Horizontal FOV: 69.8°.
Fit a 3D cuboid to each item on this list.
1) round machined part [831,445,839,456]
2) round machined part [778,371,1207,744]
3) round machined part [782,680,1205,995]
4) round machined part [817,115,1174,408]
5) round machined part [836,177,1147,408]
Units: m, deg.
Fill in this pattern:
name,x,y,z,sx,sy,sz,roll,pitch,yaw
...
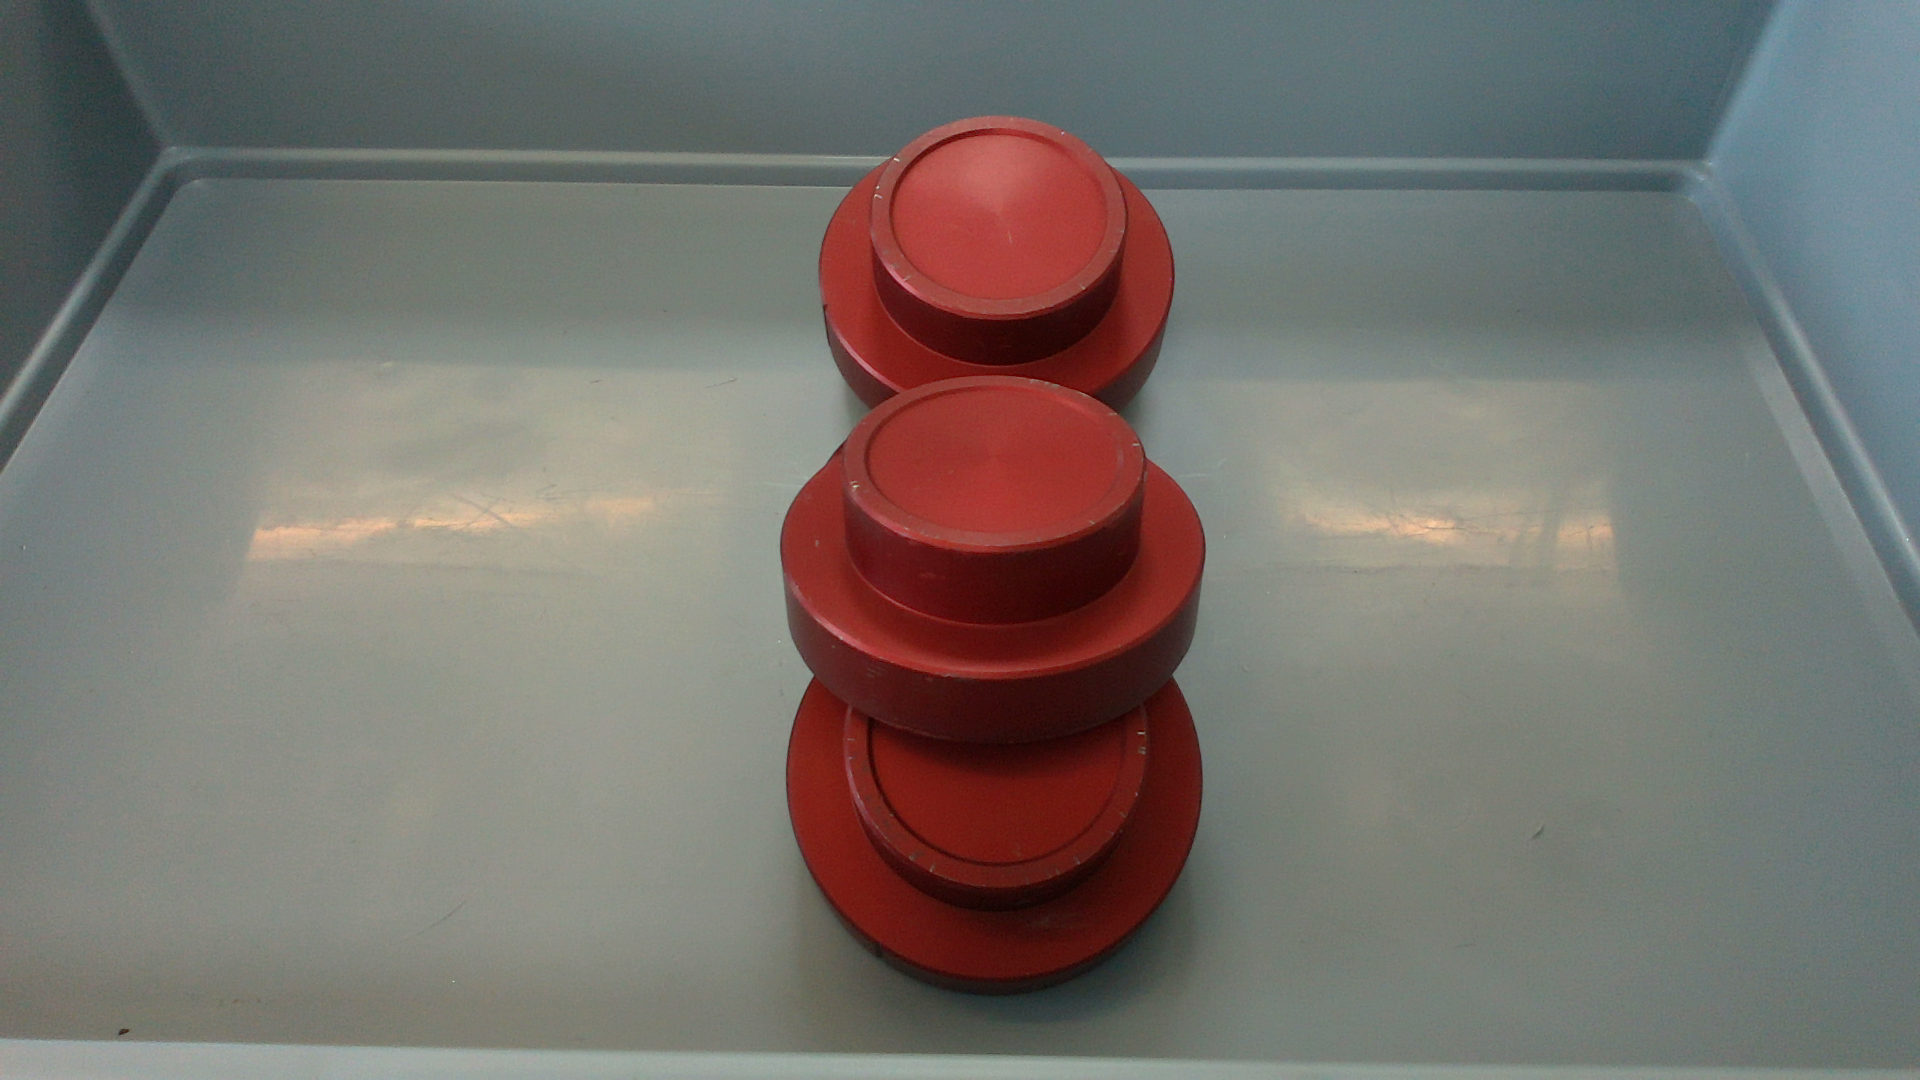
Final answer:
name,x,y,z,sx,sy,sz,roll,pitch,yaw
round machined part,0.006,-0.010,0.387,0.098,0.042,0.098,0,49,0
round machined part,0.007,-0.003,0.315,0.098,0.042,0.098,0,39,0
round machined part,0.008,0.051,0.318,0.098,0.042,0.098,0,65,0
round machined part,0.010,-0.076,0.376,0.098,0.042,0.098,0,62,0
round machined part,0.010,-0.083,0.435,0.098,0.042,0.098,0,34,0
